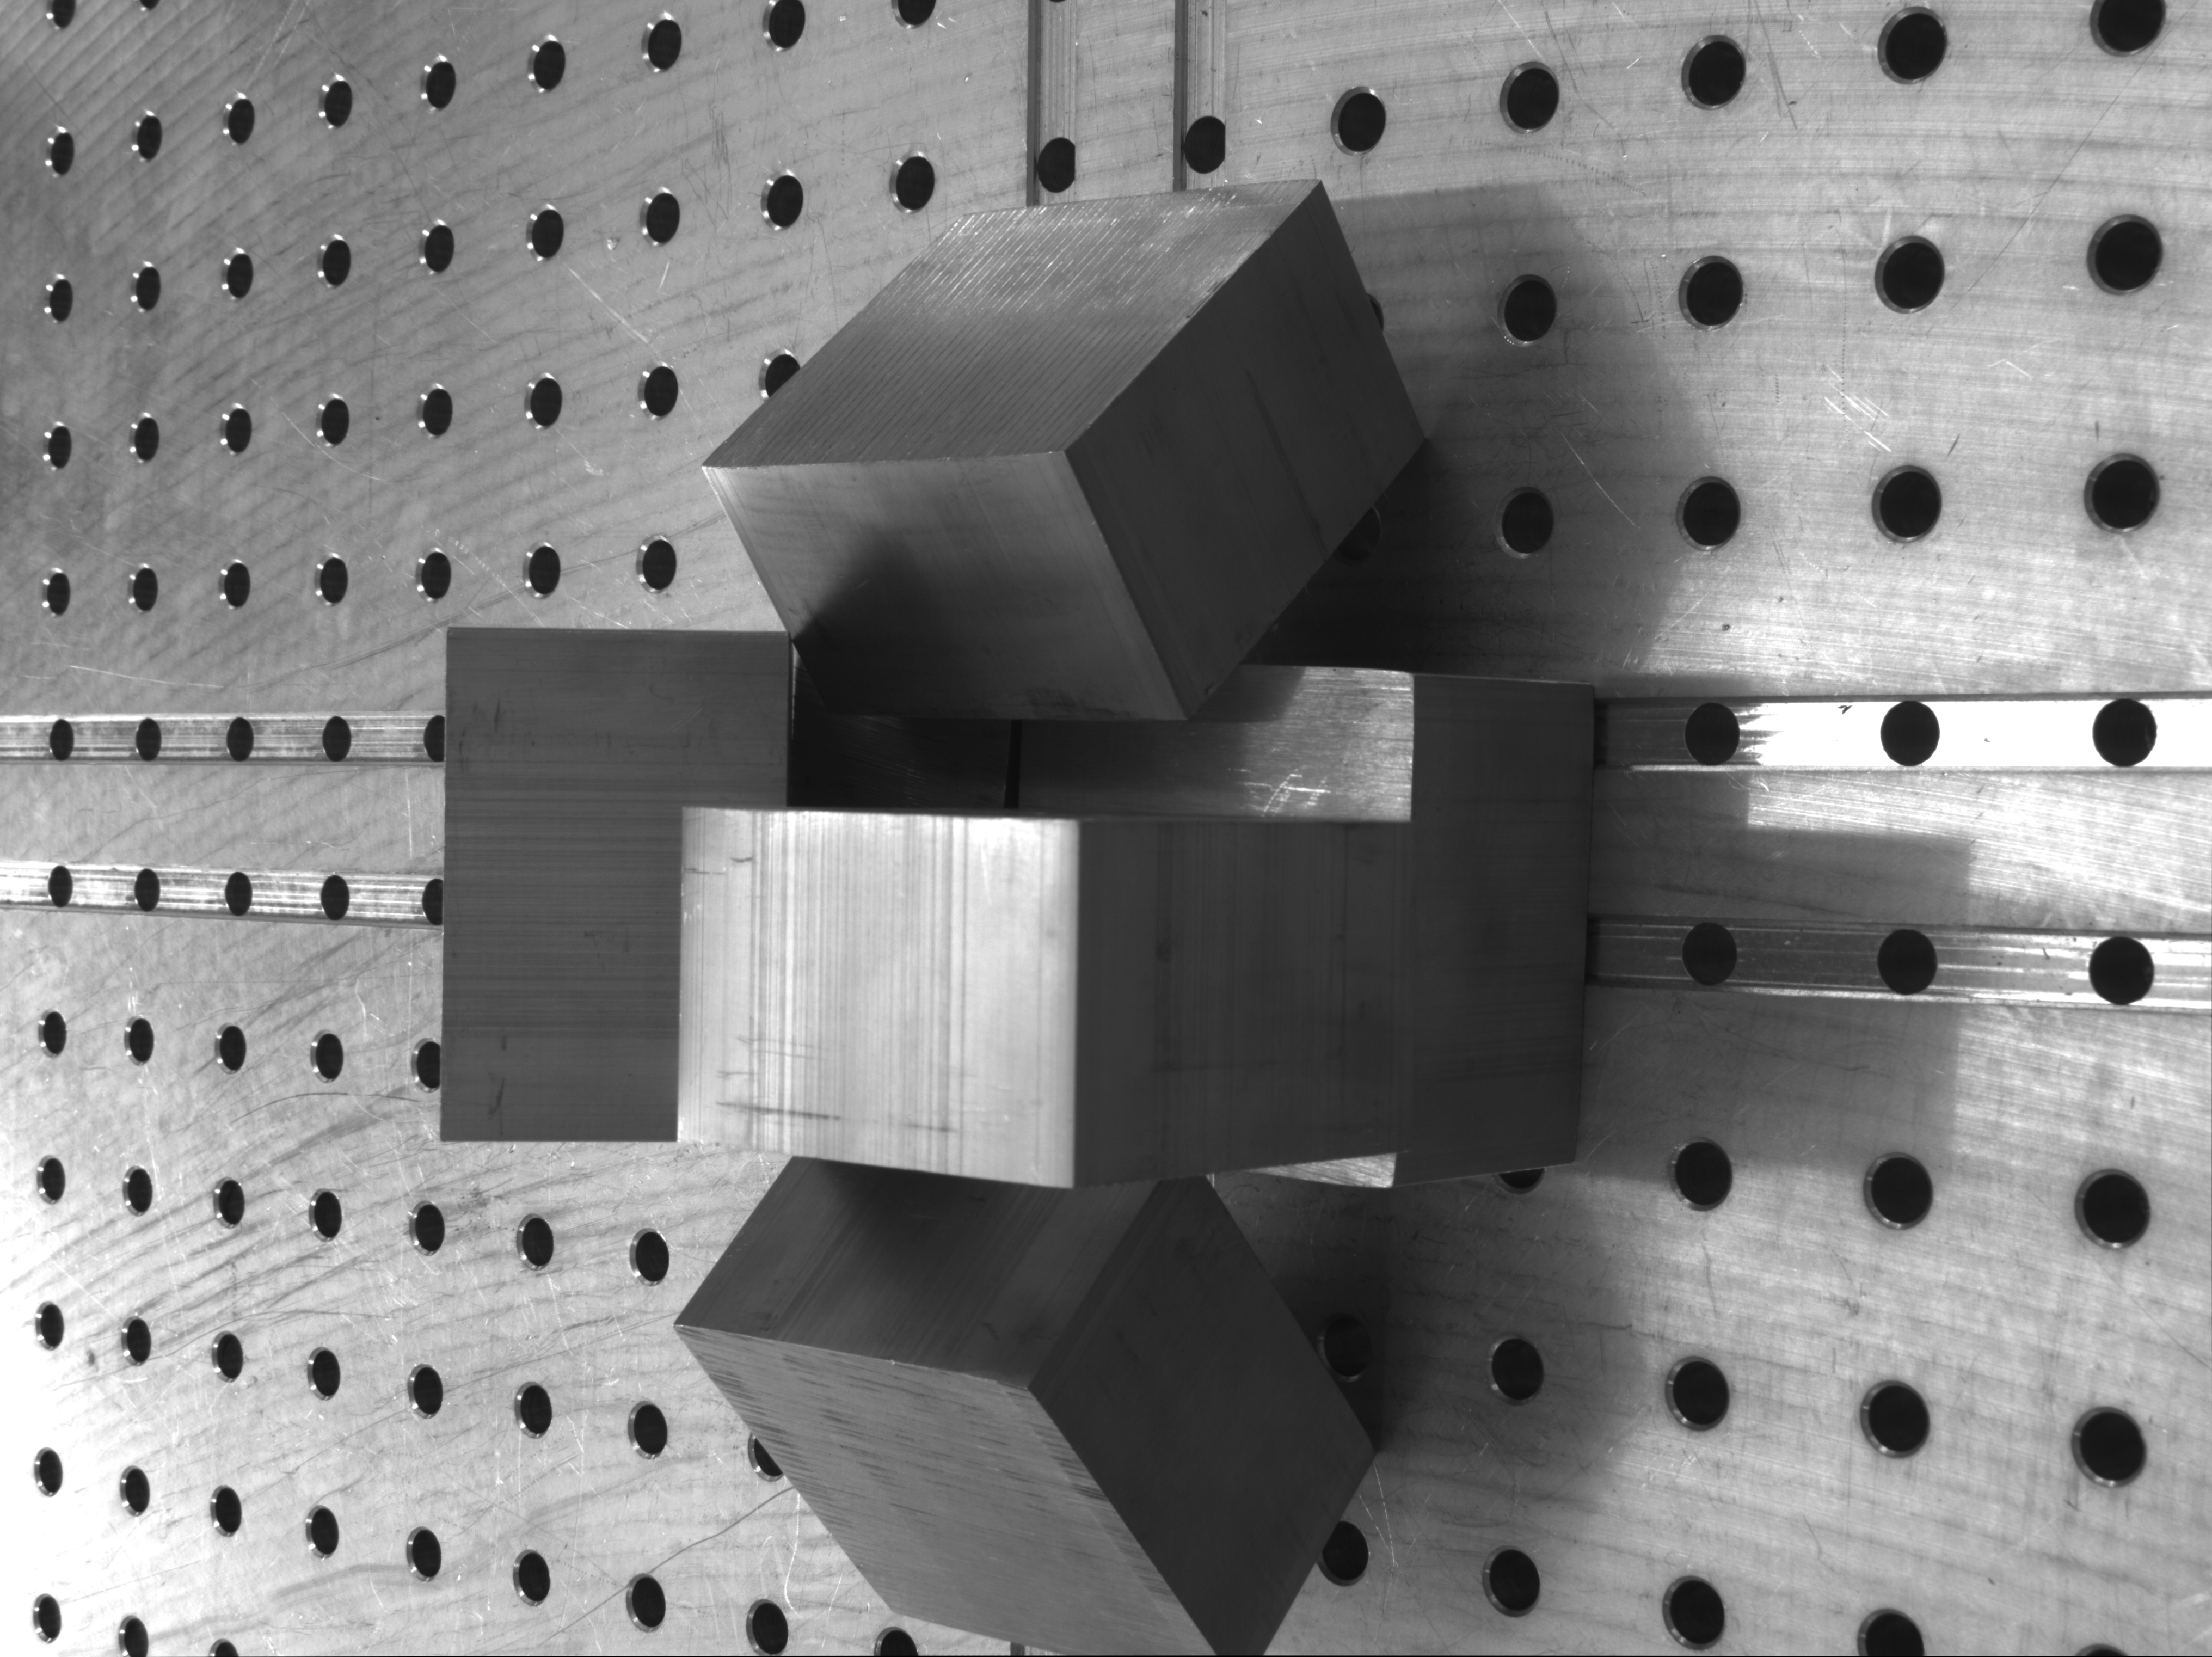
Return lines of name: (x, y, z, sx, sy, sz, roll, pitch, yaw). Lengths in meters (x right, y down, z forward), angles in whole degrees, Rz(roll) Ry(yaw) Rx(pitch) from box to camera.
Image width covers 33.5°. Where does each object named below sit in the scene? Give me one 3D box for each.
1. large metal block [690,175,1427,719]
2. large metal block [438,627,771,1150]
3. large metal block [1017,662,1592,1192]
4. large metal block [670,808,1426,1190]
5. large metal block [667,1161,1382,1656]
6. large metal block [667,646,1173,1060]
large metal block: (-0.007, -0.063, 0.609, 0.080, 0.080, 0.050, 3, 130, 40)
large metal block: (-0.080, 0.009, 0.604, 0.050, 0.080, 0.080, 1, 91, -5)
large metal block: (0.031, 0.014, 0.606, 0.080, 0.050, 0.080, 4, 92, 40)
large metal block: (-0.008, 0.023, 0.554, 0.080, 0.080, 0.050, 2, 91, 40)
large metal block: (-0.013, 0.095, 0.616, 0.080, 0.050, 0.080, 3, 136, 40)
large metal block: (-0.033, 0.010, 0.661, 0.080, 0.050, 0.080, 9, 96, 40)
